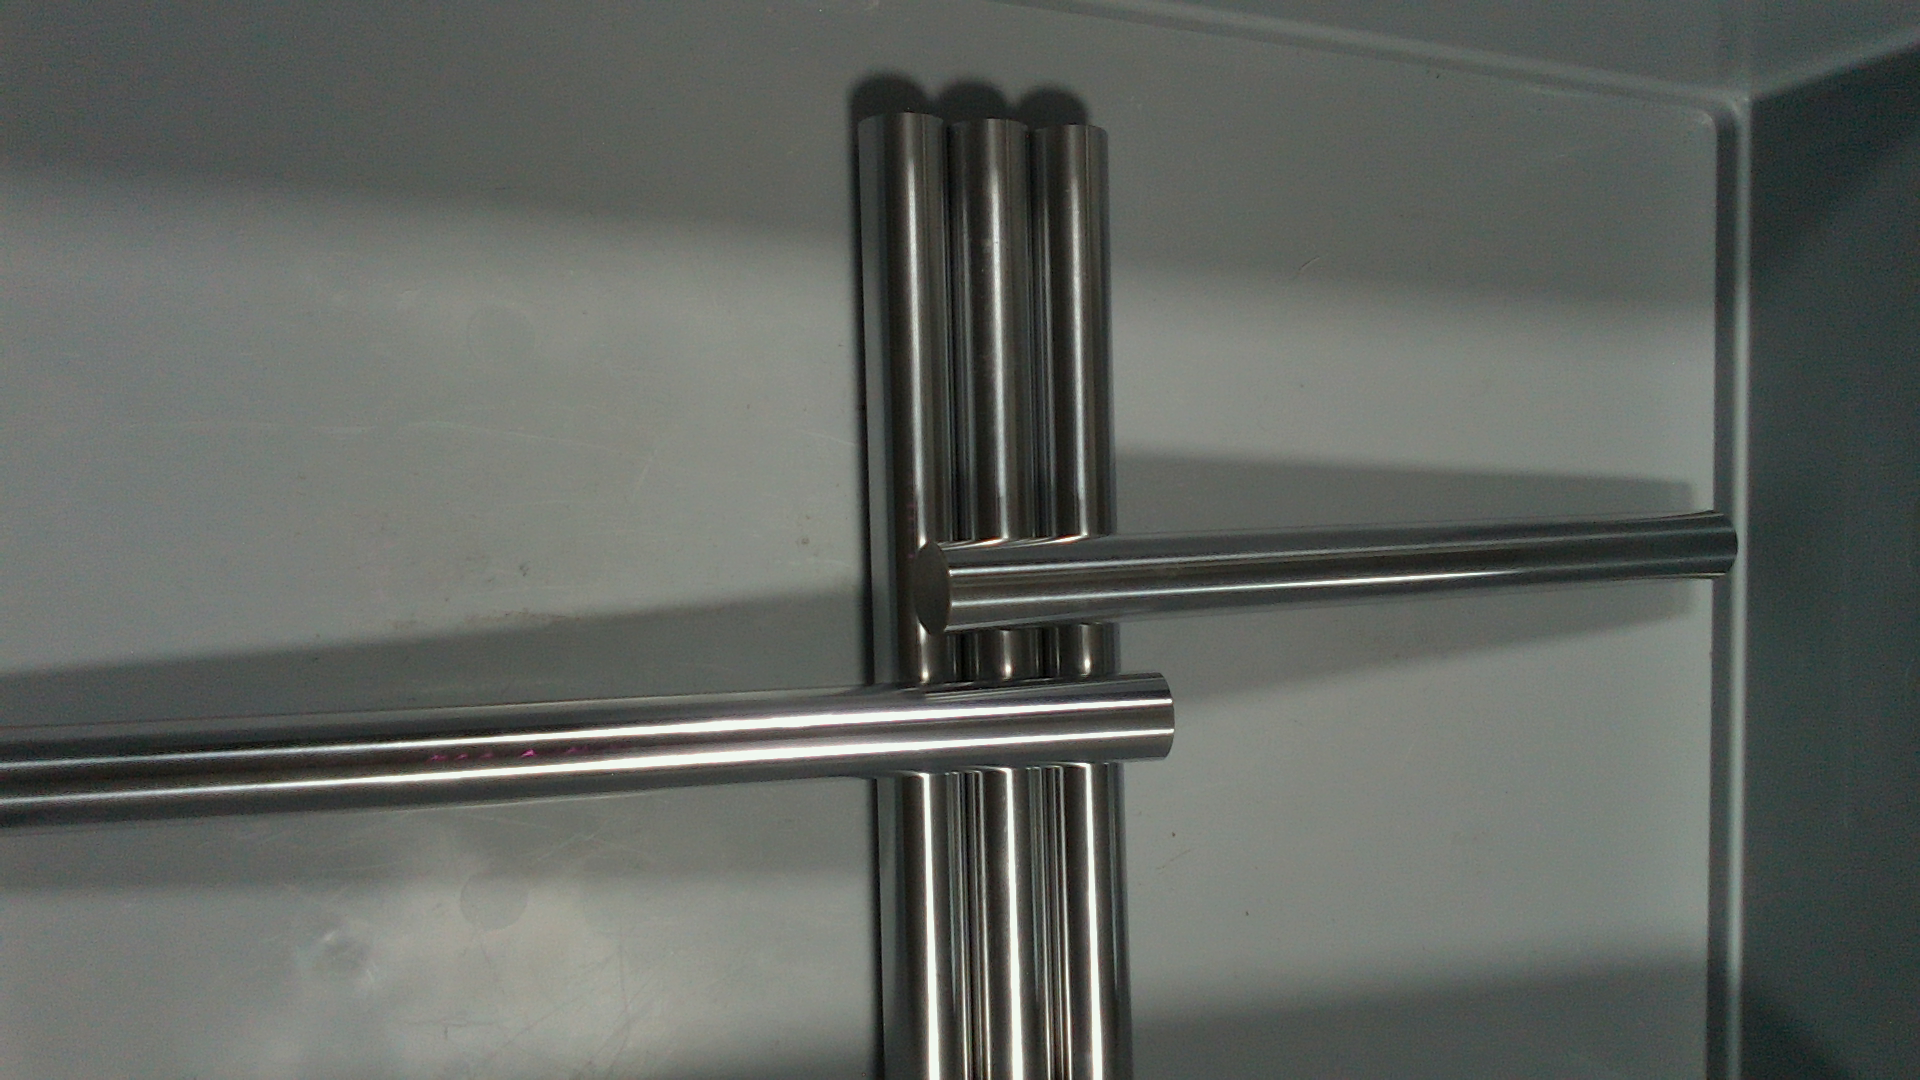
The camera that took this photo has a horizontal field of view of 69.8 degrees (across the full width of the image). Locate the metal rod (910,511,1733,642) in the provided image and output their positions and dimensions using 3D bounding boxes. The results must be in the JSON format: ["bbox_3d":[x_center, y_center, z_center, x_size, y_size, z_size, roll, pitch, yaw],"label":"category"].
[{"bbox_3d":[0.127,0.008,0.420,0.301,0.025,0.025,-2,91,-26],"label":"metal rod"}]

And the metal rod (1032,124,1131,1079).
[{"bbox_3d":[0.035,0.032,0.405,0.025,0.025,0.300,-2,91,-20],"label":"metal rod"}]

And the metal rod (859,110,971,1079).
[{"bbox_3d":[-0.012,0.033,0.388,0.025,0.025,0.300,-2,91,-20],"label":"metal rod"}]

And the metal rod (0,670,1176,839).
[{"bbox_3d":[-0.091,0.052,0.342,0.301,0.025,0.025,-1,91,-14],"label":"metal rod"}]

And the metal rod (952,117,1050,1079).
[{"bbox_3d":[0.011,0.032,0.396,0.025,0.025,0.300,-2,91,-20],"label":"metal rod"}]
